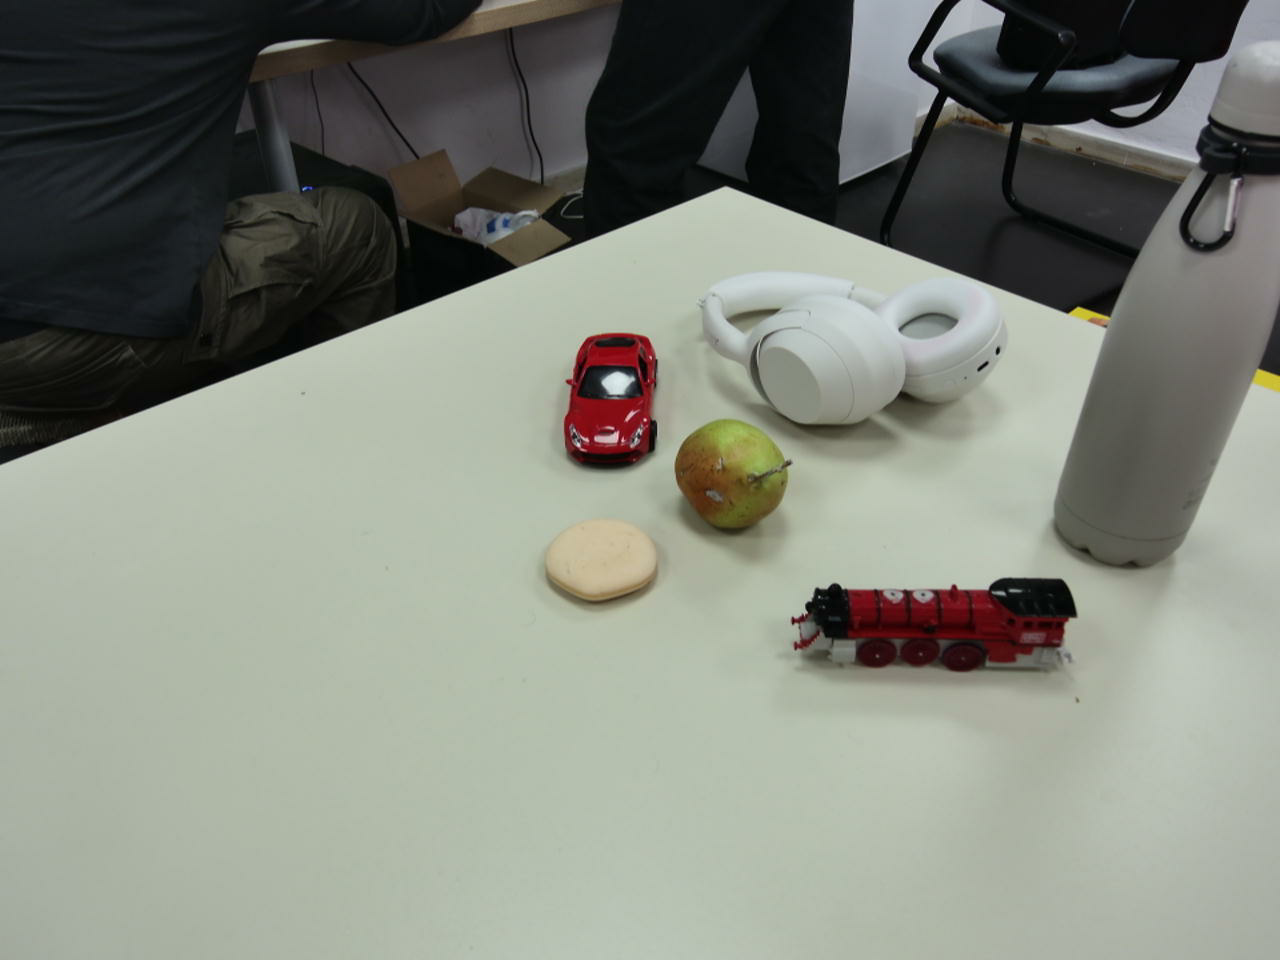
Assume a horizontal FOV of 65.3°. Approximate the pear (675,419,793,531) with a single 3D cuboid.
[{"bbox_3d":[0.054,-0.004,0.590,0.068,0.069,0.070,7,37,8],"label":"pear"}]
